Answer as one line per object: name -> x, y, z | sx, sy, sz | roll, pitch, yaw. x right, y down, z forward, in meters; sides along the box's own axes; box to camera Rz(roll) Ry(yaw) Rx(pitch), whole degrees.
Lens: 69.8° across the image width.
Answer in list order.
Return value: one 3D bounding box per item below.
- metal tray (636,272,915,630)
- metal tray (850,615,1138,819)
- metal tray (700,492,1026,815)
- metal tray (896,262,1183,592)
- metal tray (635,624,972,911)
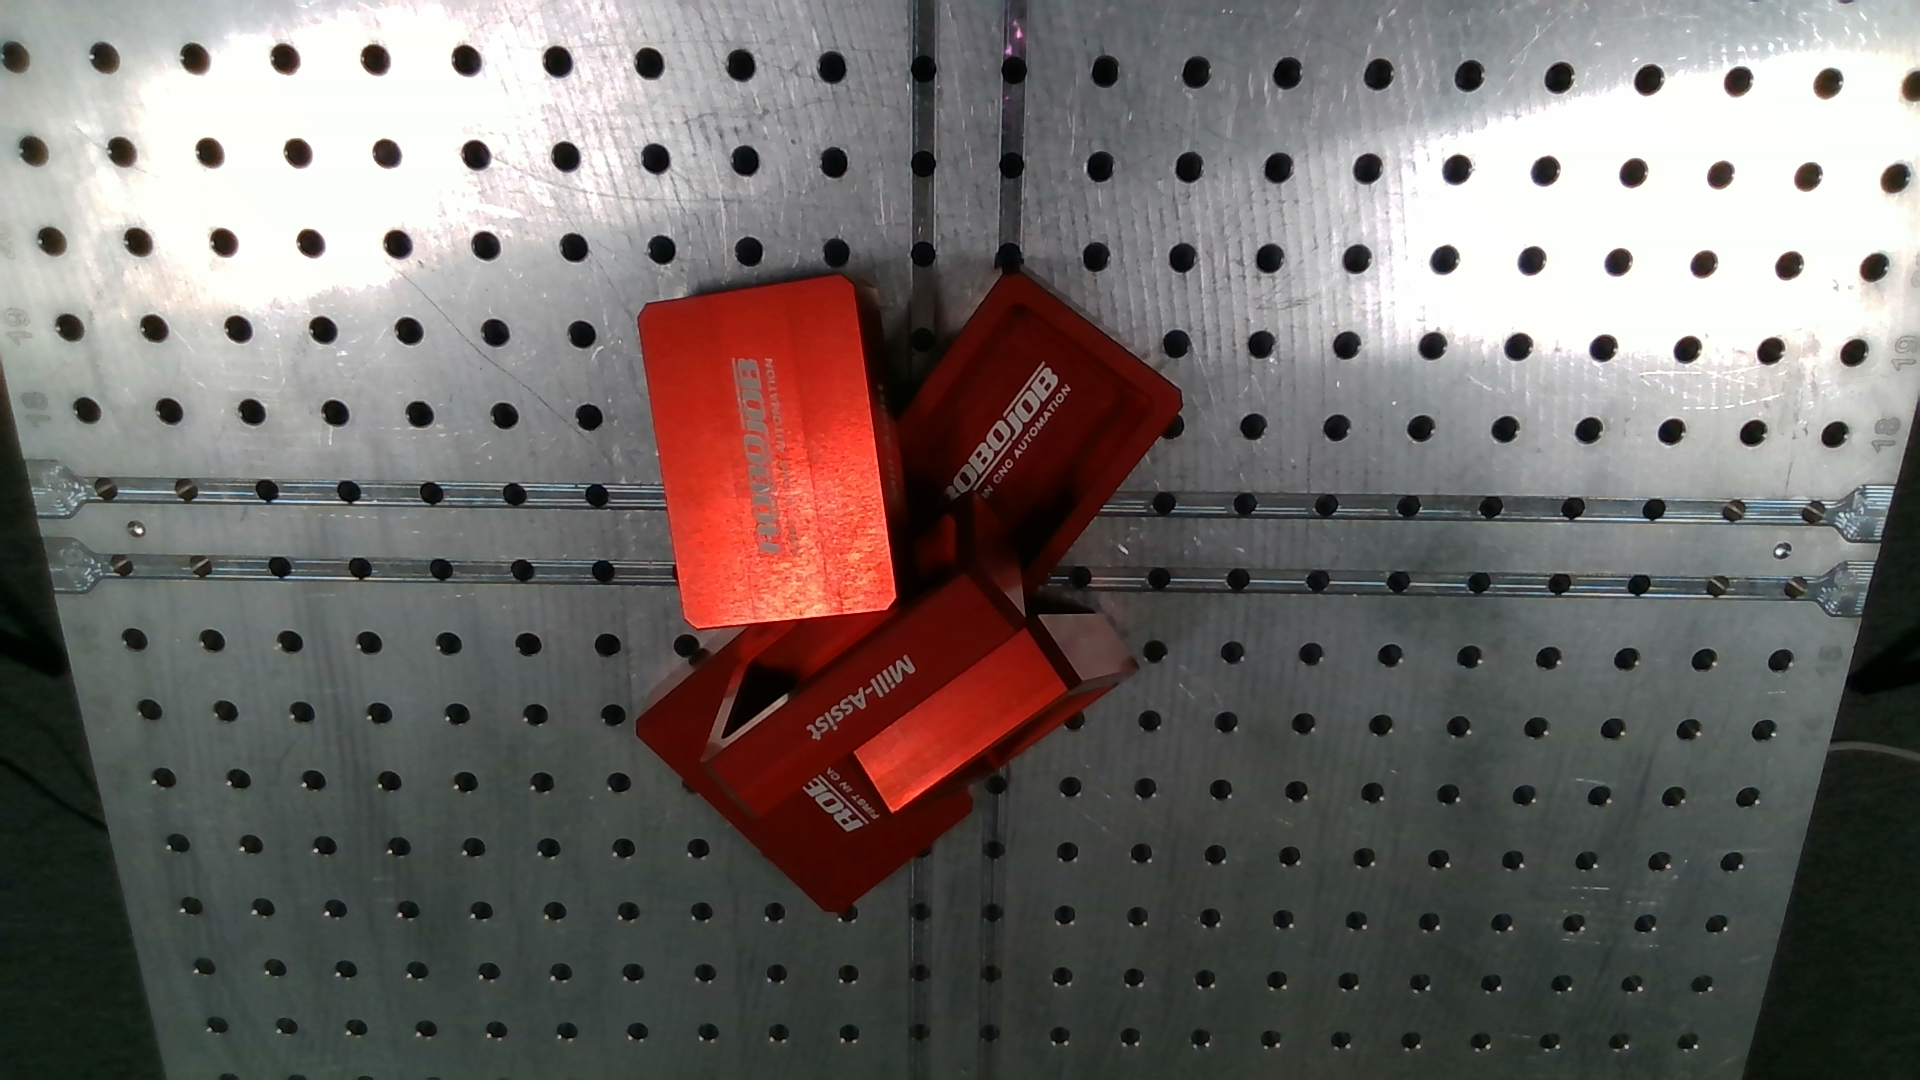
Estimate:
metal tray -> -0.072, -0.034, 0.546 | 0.090, 0.030, 0.130 | -6, 96, 13
metal tray -> 0.019, 0.068, 0.557 | 0.090, 0.130, 0.030 | -37, 77, 12
metal tray -> -0.036, 0.041, 0.535 | 0.130, 0.090, 0.030 | -37, 106, 12
metal tray -> 0.018, -0.038, 0.570 | 0.090, 0.030, 0.130 | 34, 107, -12
metal tray -> -0.068, 0.095, 0.618 | 0.090, 0.030, 0.130 | -39, 106, 13
